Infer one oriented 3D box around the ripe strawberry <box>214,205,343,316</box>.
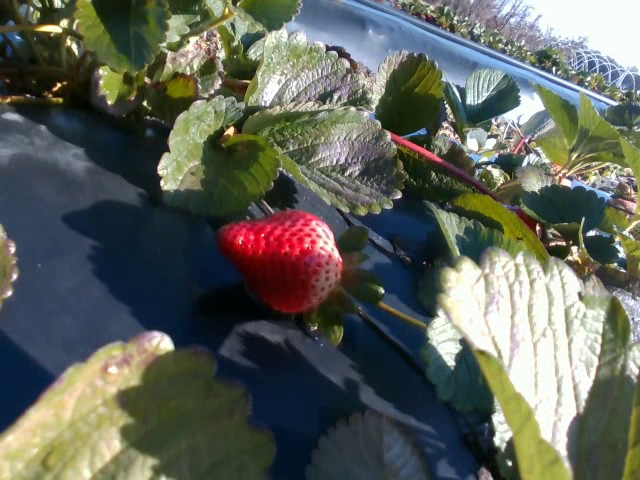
[{"bbox_3d":[-0.015,0.007,0.203,0.056,0.042,0.044,21,-26,-35],"label":"ripe strawberry"}]
